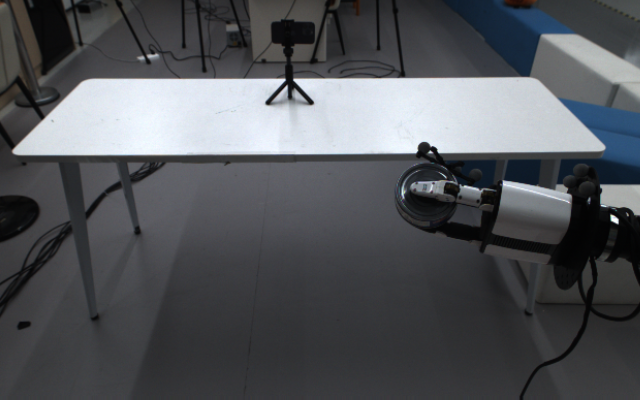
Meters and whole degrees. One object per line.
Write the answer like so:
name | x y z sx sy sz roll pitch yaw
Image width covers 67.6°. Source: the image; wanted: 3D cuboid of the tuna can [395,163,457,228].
tuna can | 0.147 -0.009 0.656 0.085 0.034 0.085 -4 69 10
